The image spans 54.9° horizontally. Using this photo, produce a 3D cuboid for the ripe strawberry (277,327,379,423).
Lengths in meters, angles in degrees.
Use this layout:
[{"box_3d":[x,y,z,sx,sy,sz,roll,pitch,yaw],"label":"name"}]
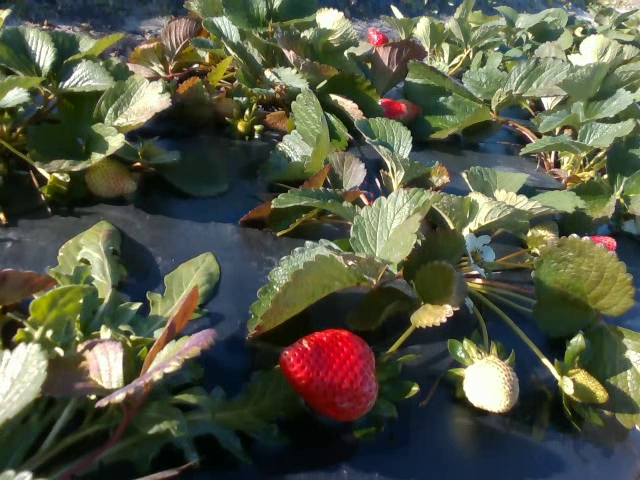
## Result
[{"box_3d":[0.001,0.049,0.229,0.053,0.044,0.036,21,-34,-39],"label":"ripe strawberry"}]
